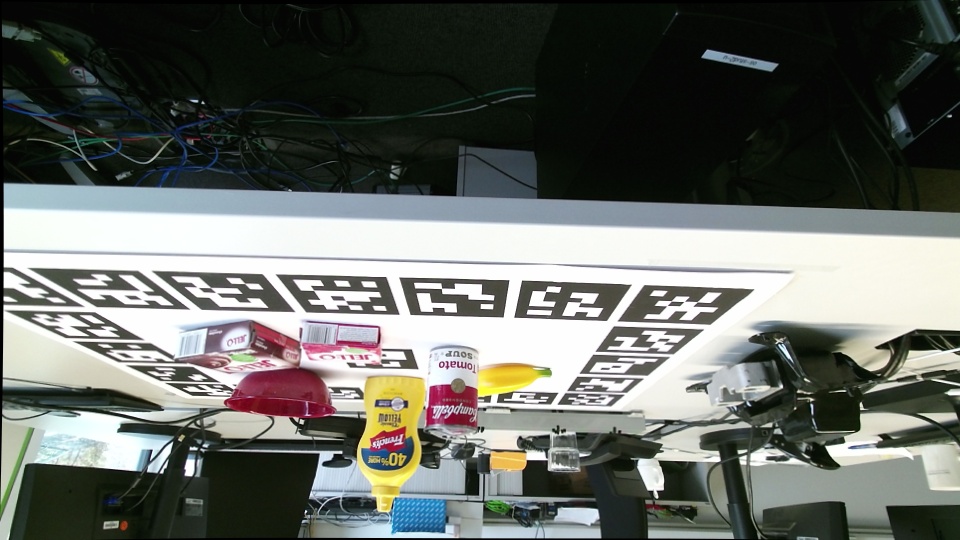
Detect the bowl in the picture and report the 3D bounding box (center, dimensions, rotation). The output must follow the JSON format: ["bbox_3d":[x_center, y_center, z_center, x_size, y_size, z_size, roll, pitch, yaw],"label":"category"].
[{"bbox_3d":[-0.309,0.186,0.820,0.162,0.055,0.162,0,154,0],"label":"bowl"}]

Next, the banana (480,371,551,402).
[{"bbox_3d":[0.010,0.178,0.799,0.074,0.038,0.197,12,153,-42],"label":"banana"}]

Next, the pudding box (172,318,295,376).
[{"bbox_3d":[-0.300,0.098,0.653,0.114,0.038,0.090,-10,146,22],"label":"pudding box"}]

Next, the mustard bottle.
[{"bbox_3d":[-0.140,0.271,0.798,0.096,0.190,0.058,2,156,0],"label":"mustard bottle"}]

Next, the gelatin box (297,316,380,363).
[{"bbox_3d":[-0.163,0.084,0.629,0.090,0.030,0.073,4,150,-6],"label":"gelatin box"}]

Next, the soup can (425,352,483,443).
[{"bbox_3d":[-0.032,0.163,0.681,0.068,0.101,0.068,3,155,1],"label":"soup can"}]
